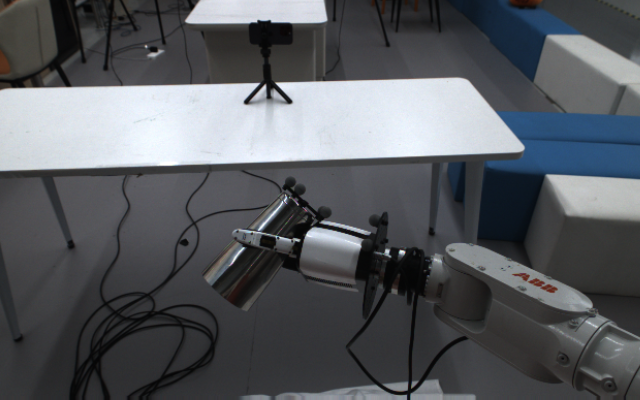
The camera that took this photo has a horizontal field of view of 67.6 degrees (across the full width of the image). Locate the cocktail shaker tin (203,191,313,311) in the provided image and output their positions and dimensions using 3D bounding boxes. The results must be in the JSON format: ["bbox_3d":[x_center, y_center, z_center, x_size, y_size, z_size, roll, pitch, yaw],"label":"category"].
[{"bbox_3d":[-0.086,0.069,0.735,0.170,0.093,0.093,-48,49,-3],"label":"cocktail shaker tin"}]
